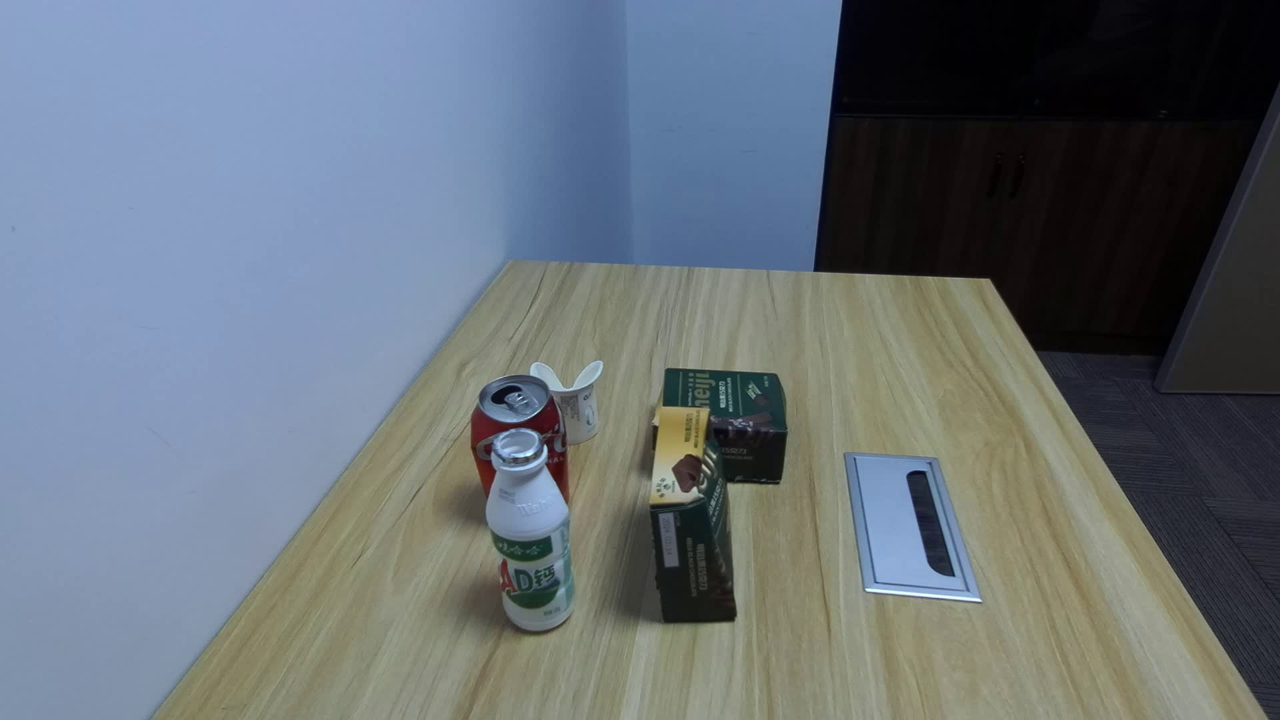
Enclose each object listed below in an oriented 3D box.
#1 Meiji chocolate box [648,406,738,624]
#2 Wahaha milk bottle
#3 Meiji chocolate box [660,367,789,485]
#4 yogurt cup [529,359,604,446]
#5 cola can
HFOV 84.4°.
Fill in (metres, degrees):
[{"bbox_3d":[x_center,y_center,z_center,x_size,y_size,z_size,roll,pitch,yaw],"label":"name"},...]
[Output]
[{"bbox_3d":[0.036,0.105,0.503,0.051,0.117,0.117,-6,30,7],"label":"Meiji chocolate box"},{"bbox_3d":[-0.071,0.112,0.465,0.056,0.148,0.056,-3,30,2],"label":"Wahaha milk bottle"},{"bbox_3d":[0.073,0.056,0.642,0.122,0.058,0.115,2,29,4],"label":"Meiji chocolate box"},{"bbox_3d":[-0.066,0.039,0.658,0.067,0.070,0.067,0,30,0],"label":"yogurt cup"},{"bbox_3d":[-0.092,0.073,0.564,0.072,0.117,0.065,-3,30,-1],"label":"cola can"}]
